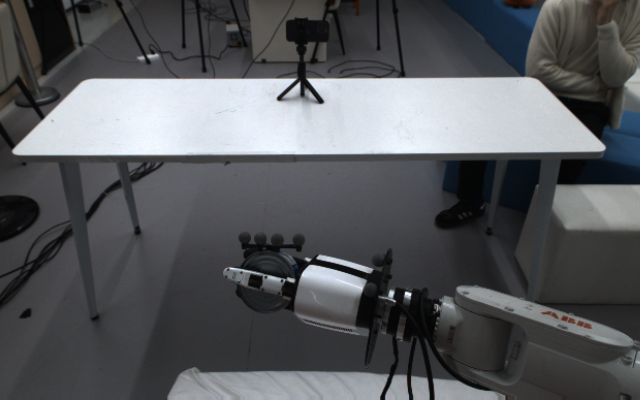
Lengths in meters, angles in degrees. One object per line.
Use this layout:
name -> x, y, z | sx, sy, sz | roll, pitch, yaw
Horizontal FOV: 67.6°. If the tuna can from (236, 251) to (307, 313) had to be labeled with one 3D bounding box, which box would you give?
tuna can -> -0.068, 0.113, 0.672 | 0.085, 0.085, 0.034 | 12, -1, 14
